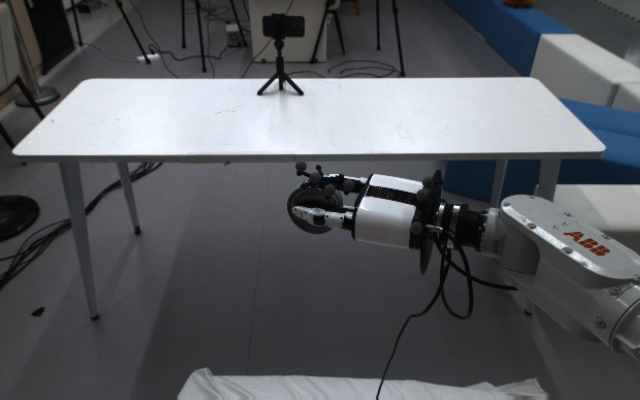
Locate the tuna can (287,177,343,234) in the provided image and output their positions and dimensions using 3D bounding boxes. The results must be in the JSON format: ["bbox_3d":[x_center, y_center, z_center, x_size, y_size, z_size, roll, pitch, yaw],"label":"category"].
[{"bbox_3d":[-0.006,0.010,0.775,0.085,0.085,0.034,13,30,15],"label":"tuna can"}]
